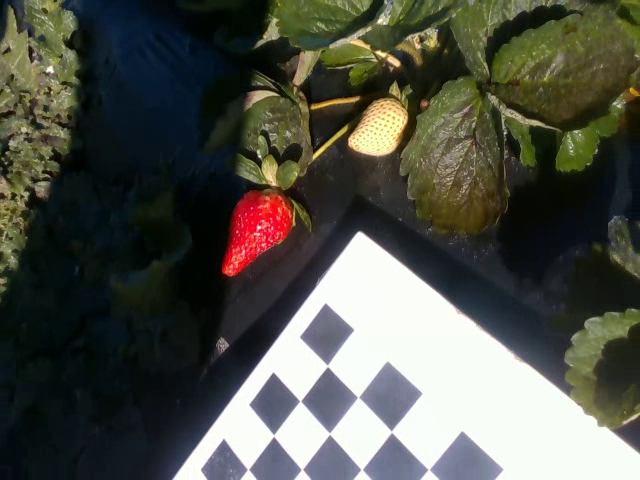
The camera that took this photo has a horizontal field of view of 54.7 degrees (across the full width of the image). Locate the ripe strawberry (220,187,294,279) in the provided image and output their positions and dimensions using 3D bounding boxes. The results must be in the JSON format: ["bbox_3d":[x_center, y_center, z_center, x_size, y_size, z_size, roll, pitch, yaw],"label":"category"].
[{"bbox_3d":[-0.041,-0.004,0.369,0.048,0.069,0.040,19,-11,35],"label":"ripe strawberry"}]
